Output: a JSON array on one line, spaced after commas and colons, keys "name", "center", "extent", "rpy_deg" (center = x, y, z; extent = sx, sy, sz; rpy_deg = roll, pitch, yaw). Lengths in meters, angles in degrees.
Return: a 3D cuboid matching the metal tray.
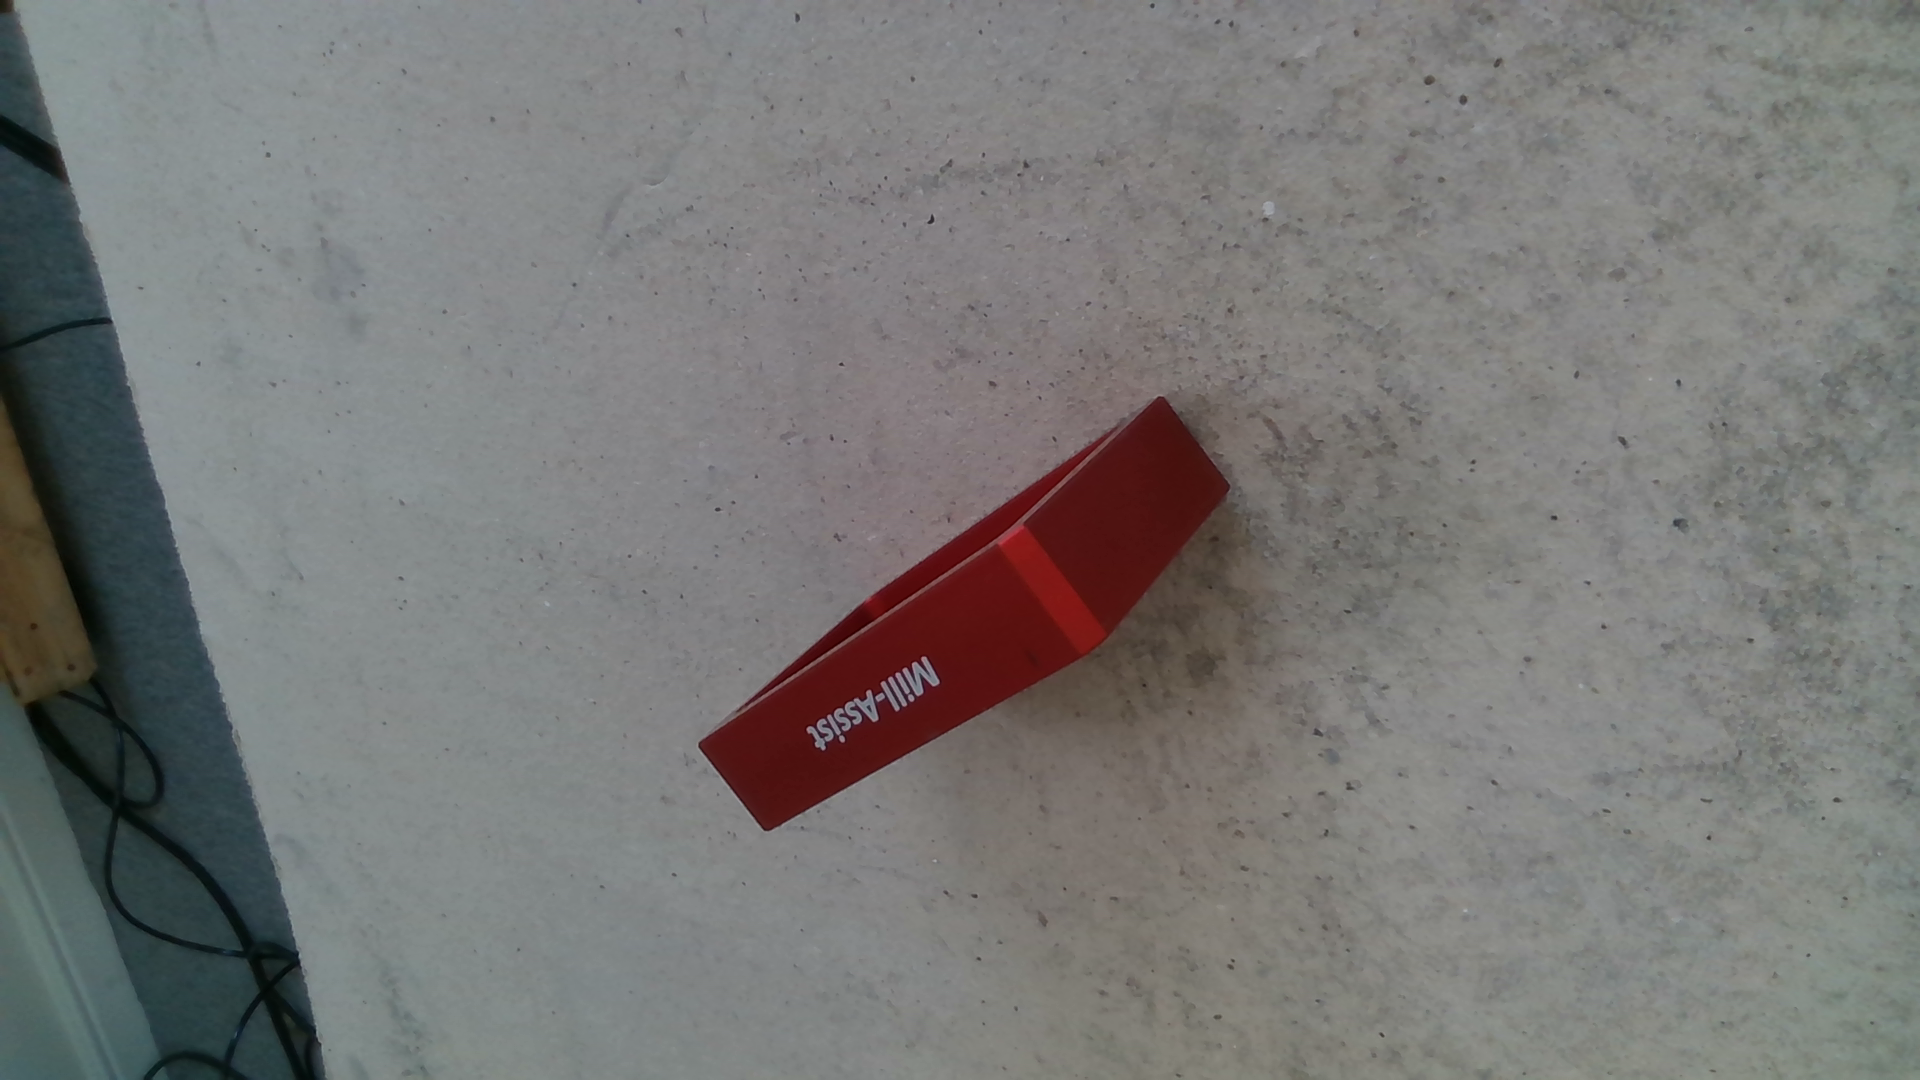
[{"name": "metal tray", "center": [-0.001, 0.020, 0.358], "extent": [0.130, 0.090, 0.030], "rpy_deg": [-35, 94, 40]}]
